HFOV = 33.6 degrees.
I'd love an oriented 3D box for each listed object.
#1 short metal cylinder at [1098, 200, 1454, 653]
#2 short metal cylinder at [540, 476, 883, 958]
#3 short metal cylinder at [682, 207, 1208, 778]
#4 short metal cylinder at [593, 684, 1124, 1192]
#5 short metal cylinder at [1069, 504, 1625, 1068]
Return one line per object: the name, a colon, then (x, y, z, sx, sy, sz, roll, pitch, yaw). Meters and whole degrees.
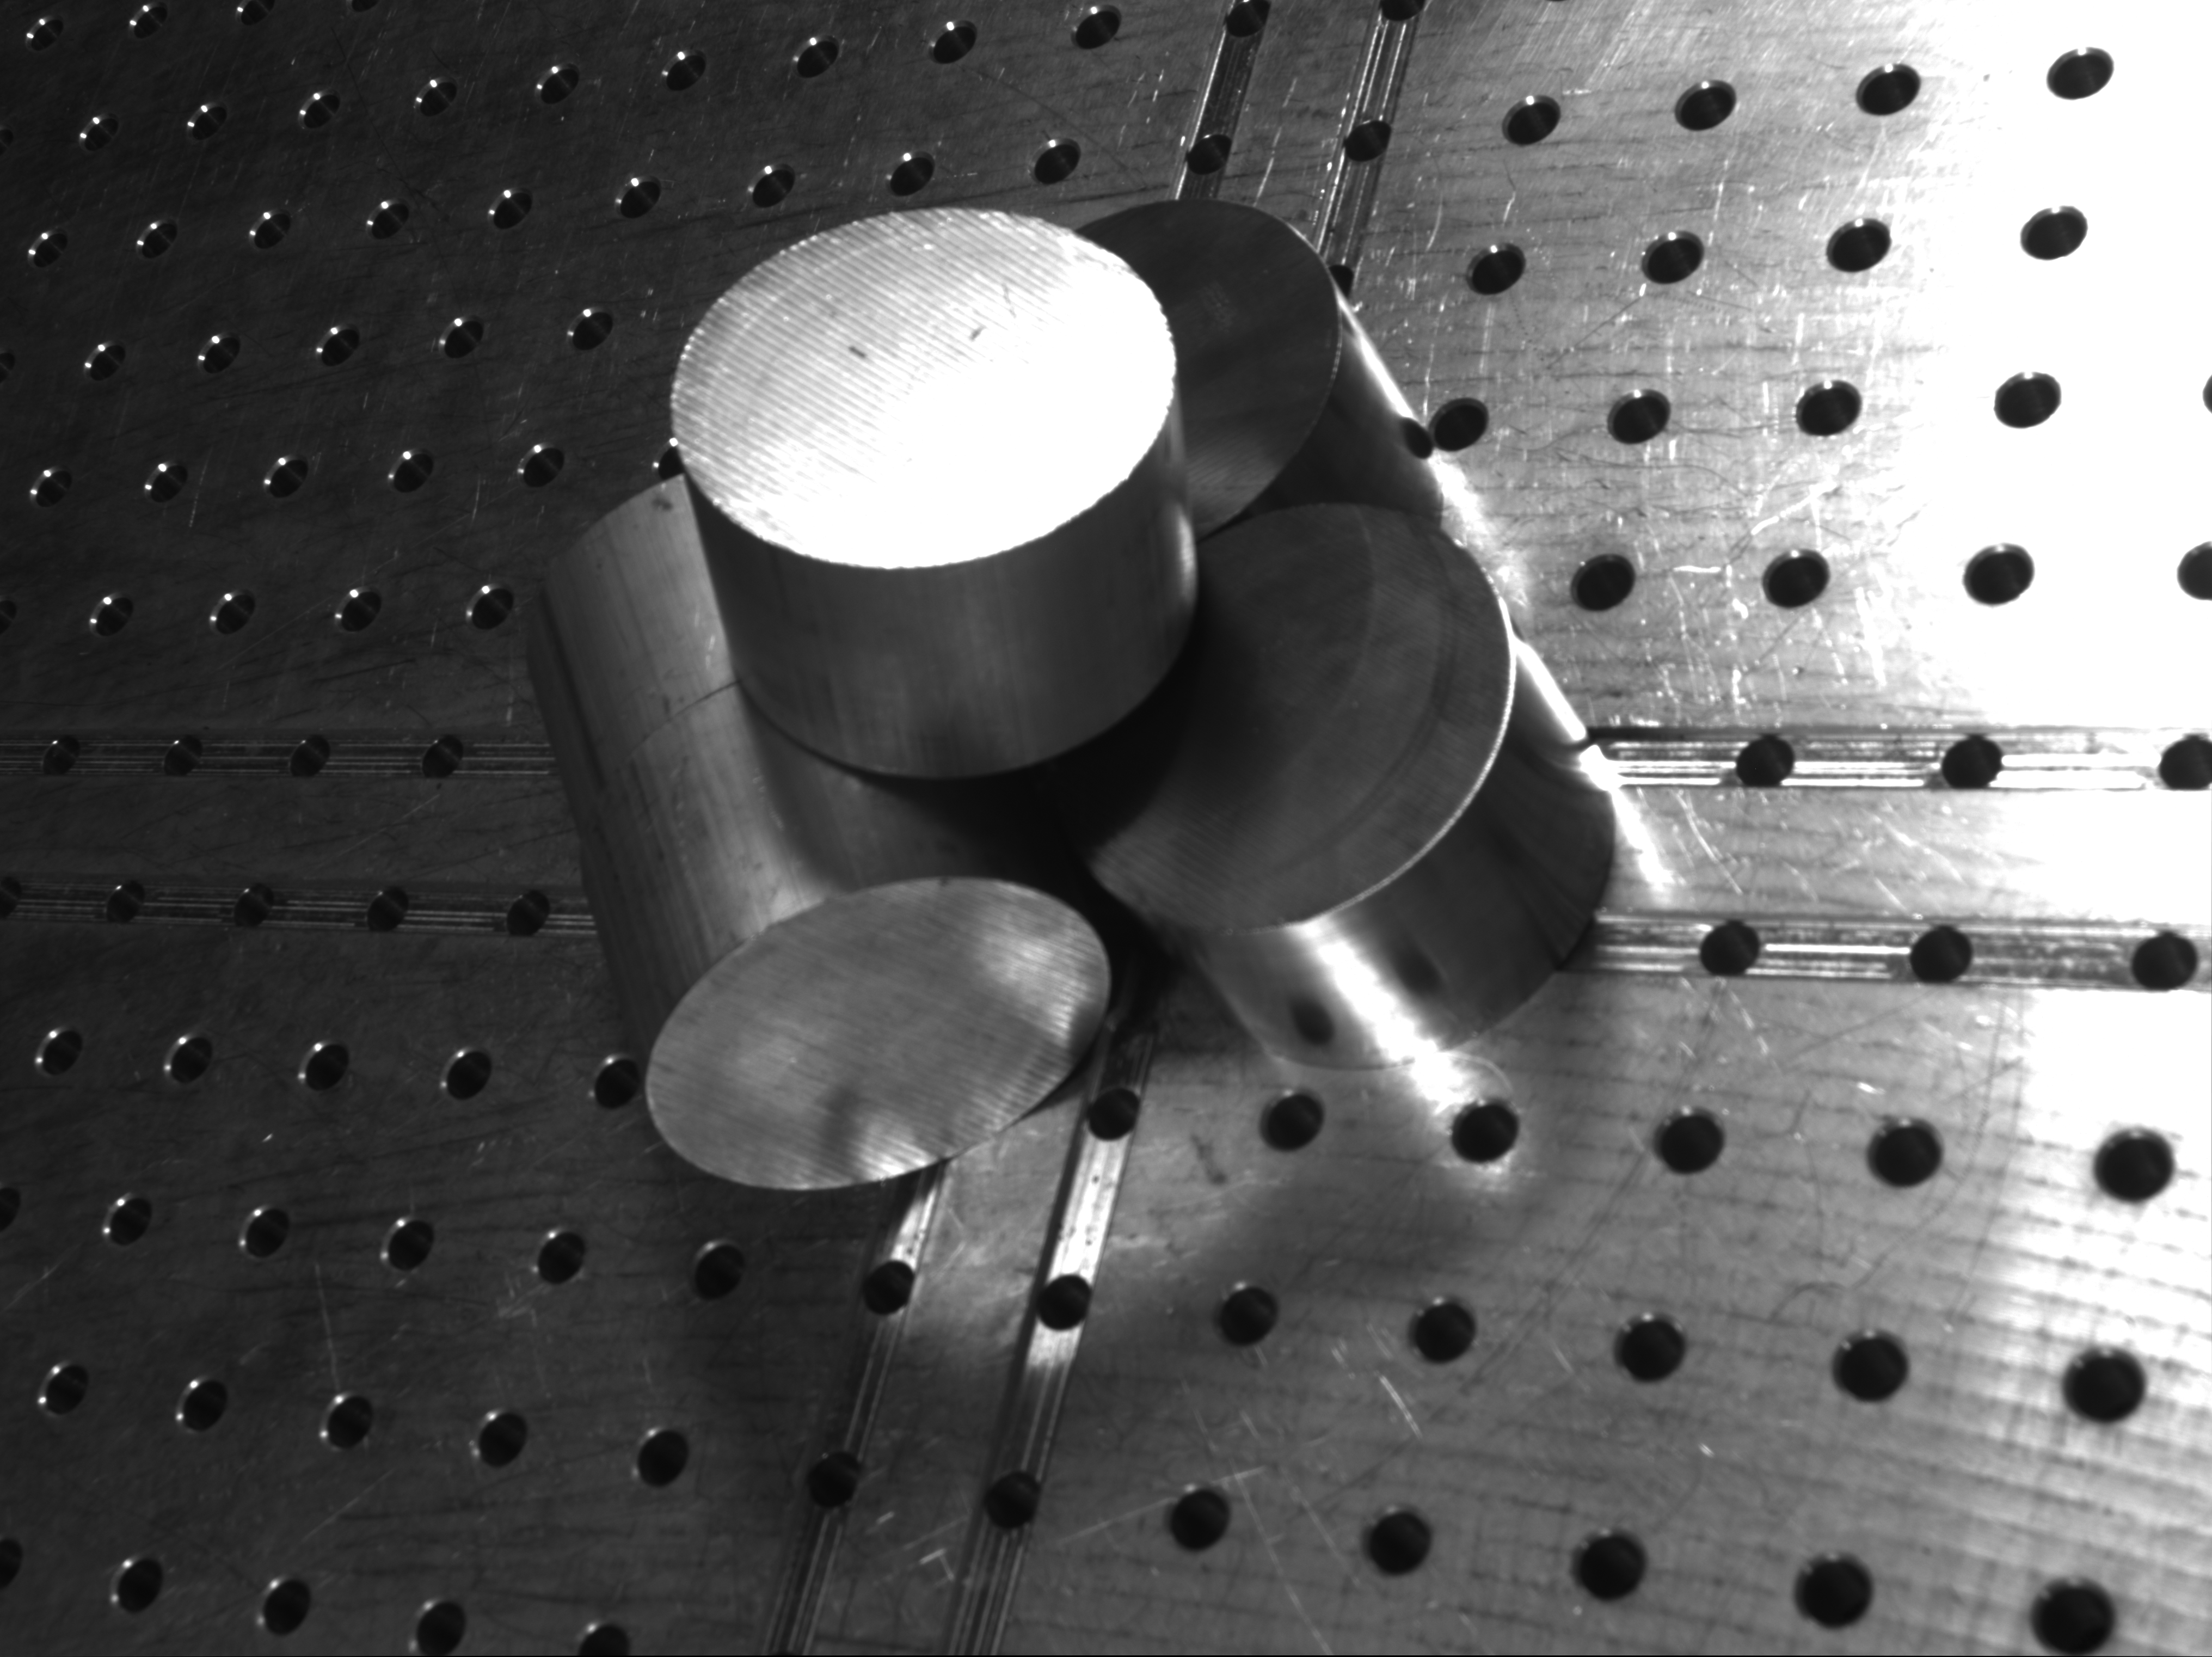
short metal cylinder: (0.017, -0.066, 0.662, 0.080, 0.050, 0.080, -13, 56, 21)
short metal cylinder: (-0.056, -0.020, 0.655, 0.080, 0.080, 0.050, -30, 52, 9)
short metal cylinder: (-0.025, -0.055, 0.595, 0.080, 0.050, 0.080, -3, 51, 4)
short metal cylinder: (-0.043, 0.017, 0.624, 0.080, 0.080, 0.050, -30, 52, 9)
short metal cylinder: (0.041, -0.007, 0.612, 0.080, 0.050, 0.080, -13, 56, 21)
